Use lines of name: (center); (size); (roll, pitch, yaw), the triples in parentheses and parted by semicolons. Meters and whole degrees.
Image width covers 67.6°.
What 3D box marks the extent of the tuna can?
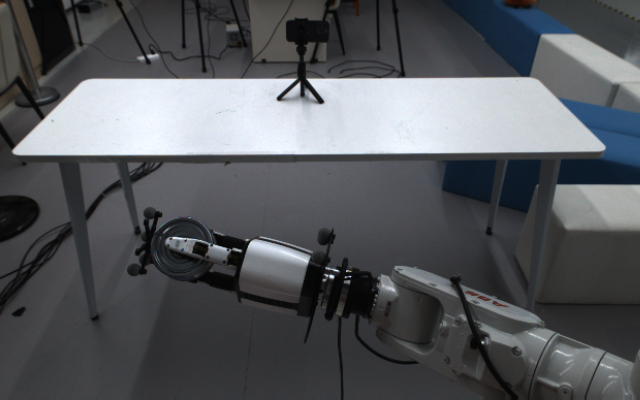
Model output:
tuna can: (-0.183, 0.070, 0.659); (0.085, 0.034, 0.085); (1, 75, -4)
